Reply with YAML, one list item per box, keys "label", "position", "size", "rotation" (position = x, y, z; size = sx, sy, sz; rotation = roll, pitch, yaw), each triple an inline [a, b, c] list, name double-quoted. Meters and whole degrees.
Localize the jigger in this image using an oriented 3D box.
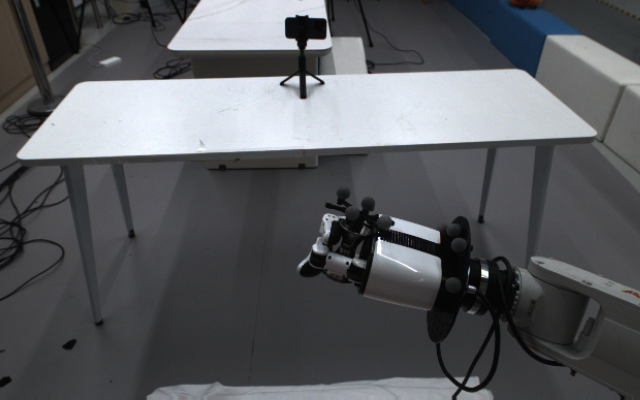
- label: "jigger"
  position: [0.034, 0.064, 0.602]
  size: [0.043, 0.071, 0.043]
  rotation: [18, 17, -6]
